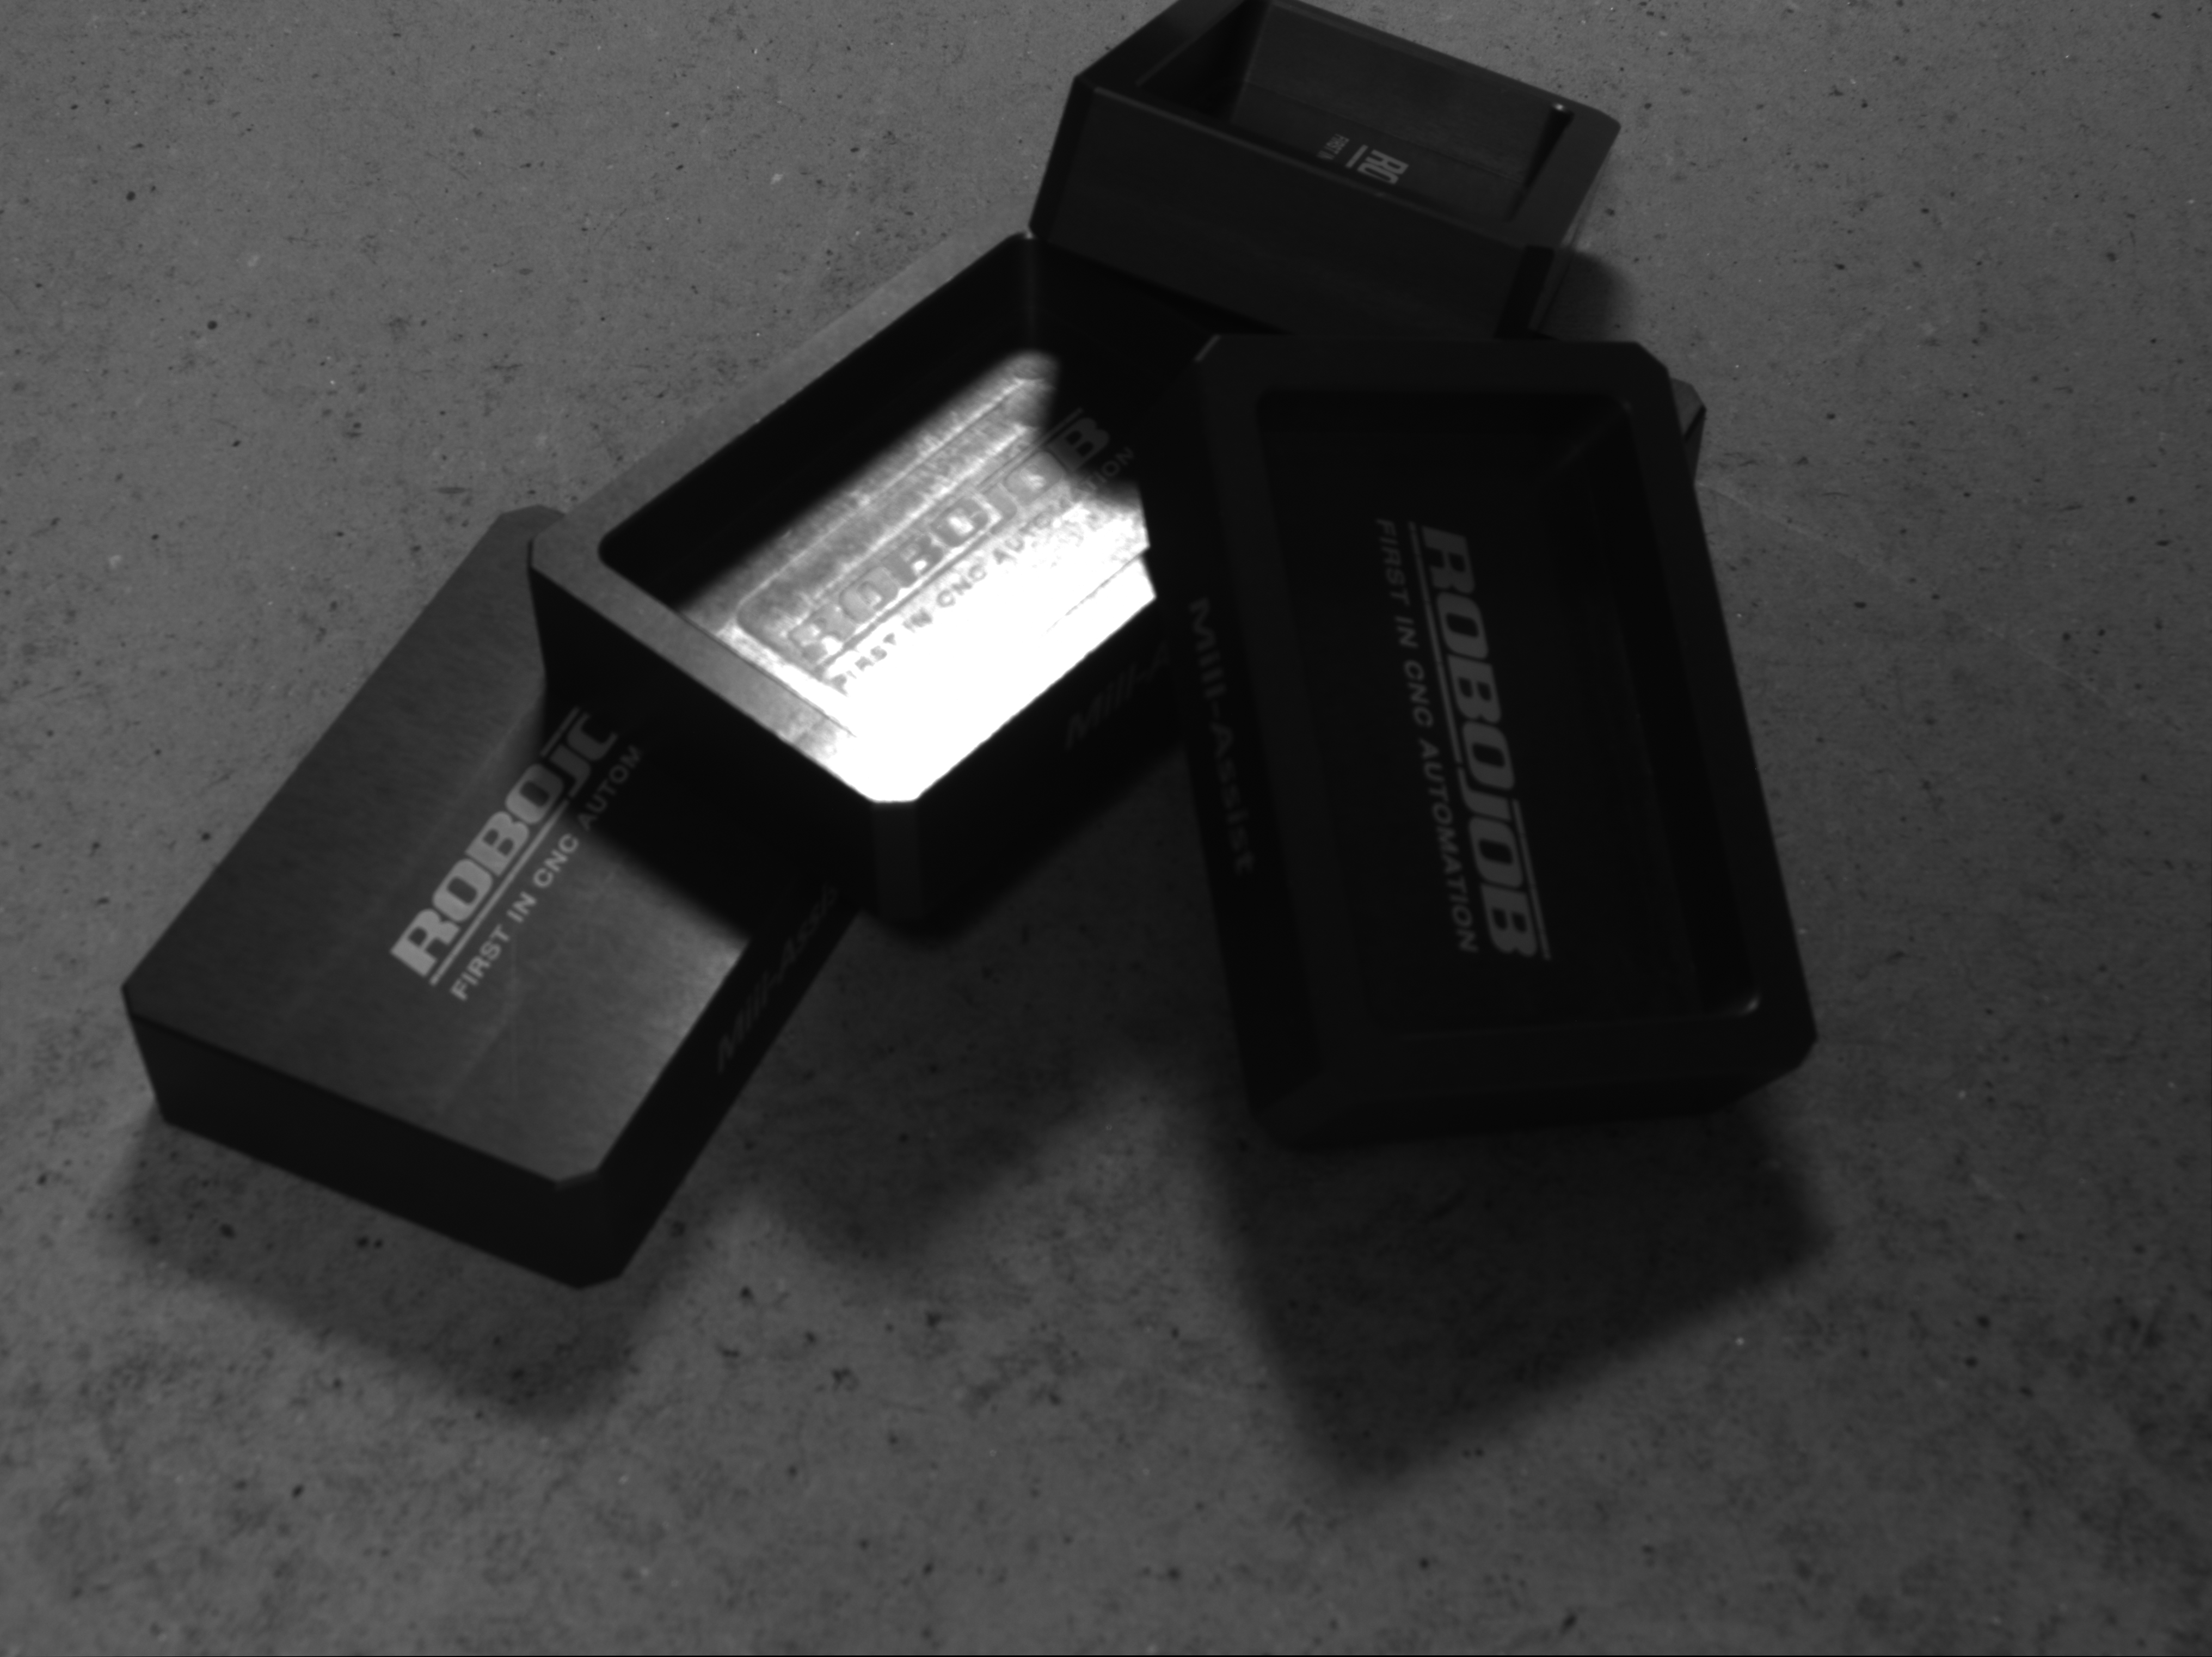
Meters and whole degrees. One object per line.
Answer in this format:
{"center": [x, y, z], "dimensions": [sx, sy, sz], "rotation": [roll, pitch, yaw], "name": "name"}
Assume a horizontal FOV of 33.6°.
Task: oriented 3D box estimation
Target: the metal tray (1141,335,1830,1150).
{"center": [0.062, -0.016, 0.608], "dimensions": [0.090, 0.030, 0.130], "rotation": [-2, 72, -23], "name": "metal tray"}

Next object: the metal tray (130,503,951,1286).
{"center": [-0.093, 0.007, 0.632], "dimensions": [0.090, 0.030, 0.130], "rotation": [19, 52, 16], "name": "metal tray"}

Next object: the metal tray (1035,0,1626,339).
{"center": [0.047, -0.125, 0.699], "dimensions": [0.090, 0.030, 0.130], "rotation": [21, 25, 5], "name": "metal tray"}

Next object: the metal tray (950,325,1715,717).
{"center": [0.038, -0.065, 0.694], "dimensions": [0.130, 0.030, 0.090], "rotation": [21, 53, 17], "name": "metal tray"}

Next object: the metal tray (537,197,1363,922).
{"center": [-0.023, -0.051, 0.643], "dimensions": [0.090, 0.030, 0.130], "rotation": [34, 58, 25], "name": "metal tray"}
